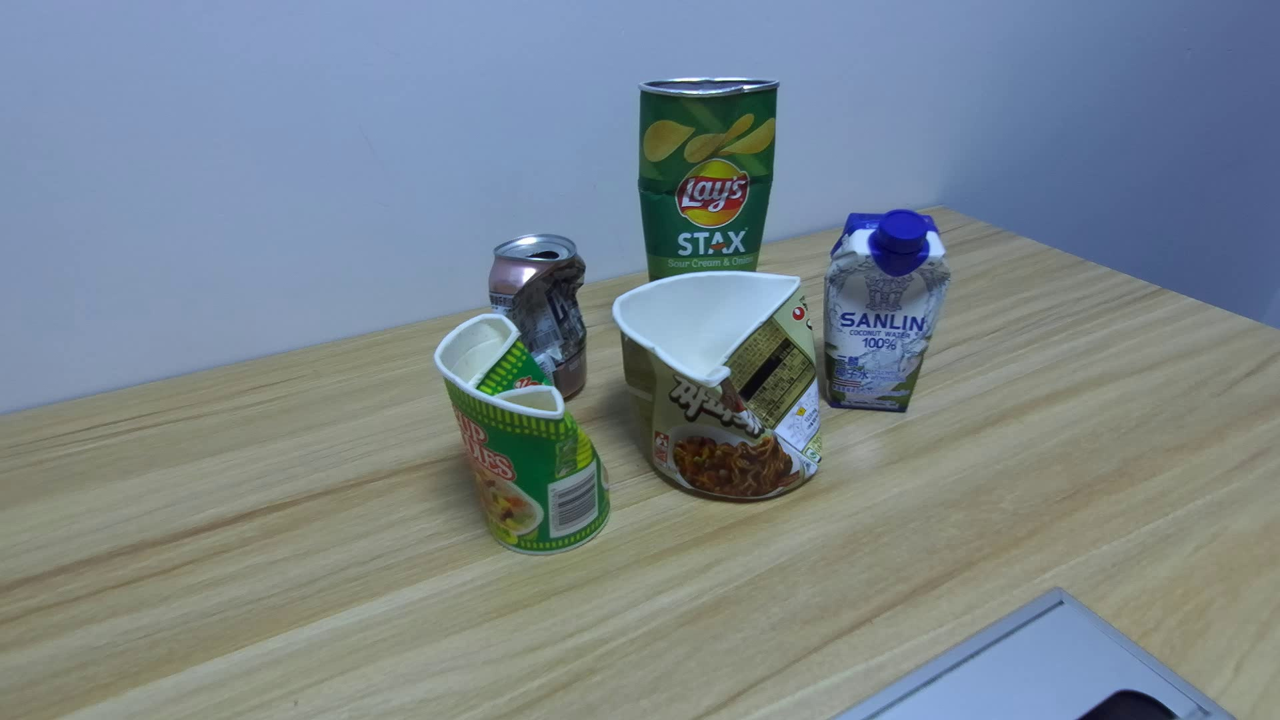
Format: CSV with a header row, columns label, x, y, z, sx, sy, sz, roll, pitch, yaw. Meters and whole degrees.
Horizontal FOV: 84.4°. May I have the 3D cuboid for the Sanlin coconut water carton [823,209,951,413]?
label,x,y,z,sx,sy,sz,roll,pitch,yaw
Sanlin coconut water carton,0.159,-0.035,0.468,0.078,0.142,0.057,3,37,6

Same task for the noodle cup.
label,x,y,z,sx,sy,sz,roll,pitch,yaw
noodle cup,-0.056,0.039,0.377,0.075,0.122,0.082,-2,41,11

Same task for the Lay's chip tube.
label,x,y,z,sx,sy,sz,roll,pitch,yaw
Lay's chip tube,0.047,-0.095,0.510,0.068,0.200,0.075,27,42,37

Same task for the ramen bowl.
label,x,y,z,sx,sy,sz,roll,pitch,yaw
ramen bowl,0.053,0.011,0.434,0.137,0.098,0.137,0,30,1

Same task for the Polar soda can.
label,x,y,z,sx,sy,sz,roll,pitch,yaw
Polar soda can,-0.070,-0.030,0.493,0.070,0.114,0.074,-4,36,-15
